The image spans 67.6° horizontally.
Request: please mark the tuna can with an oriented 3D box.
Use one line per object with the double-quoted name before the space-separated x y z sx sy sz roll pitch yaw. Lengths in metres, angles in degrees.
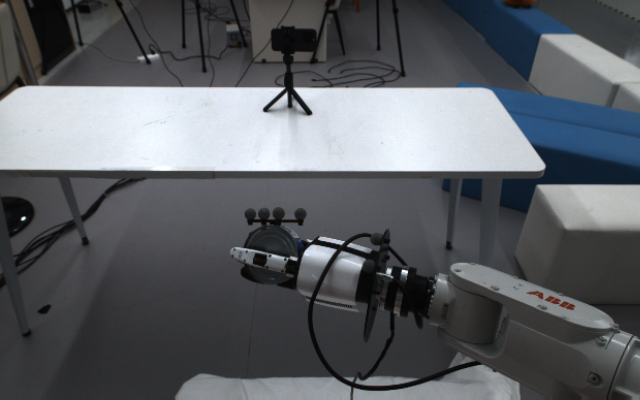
"tuna can" -0.066 0.079 0.705 0.085 0.085 0.034 15 1 18
